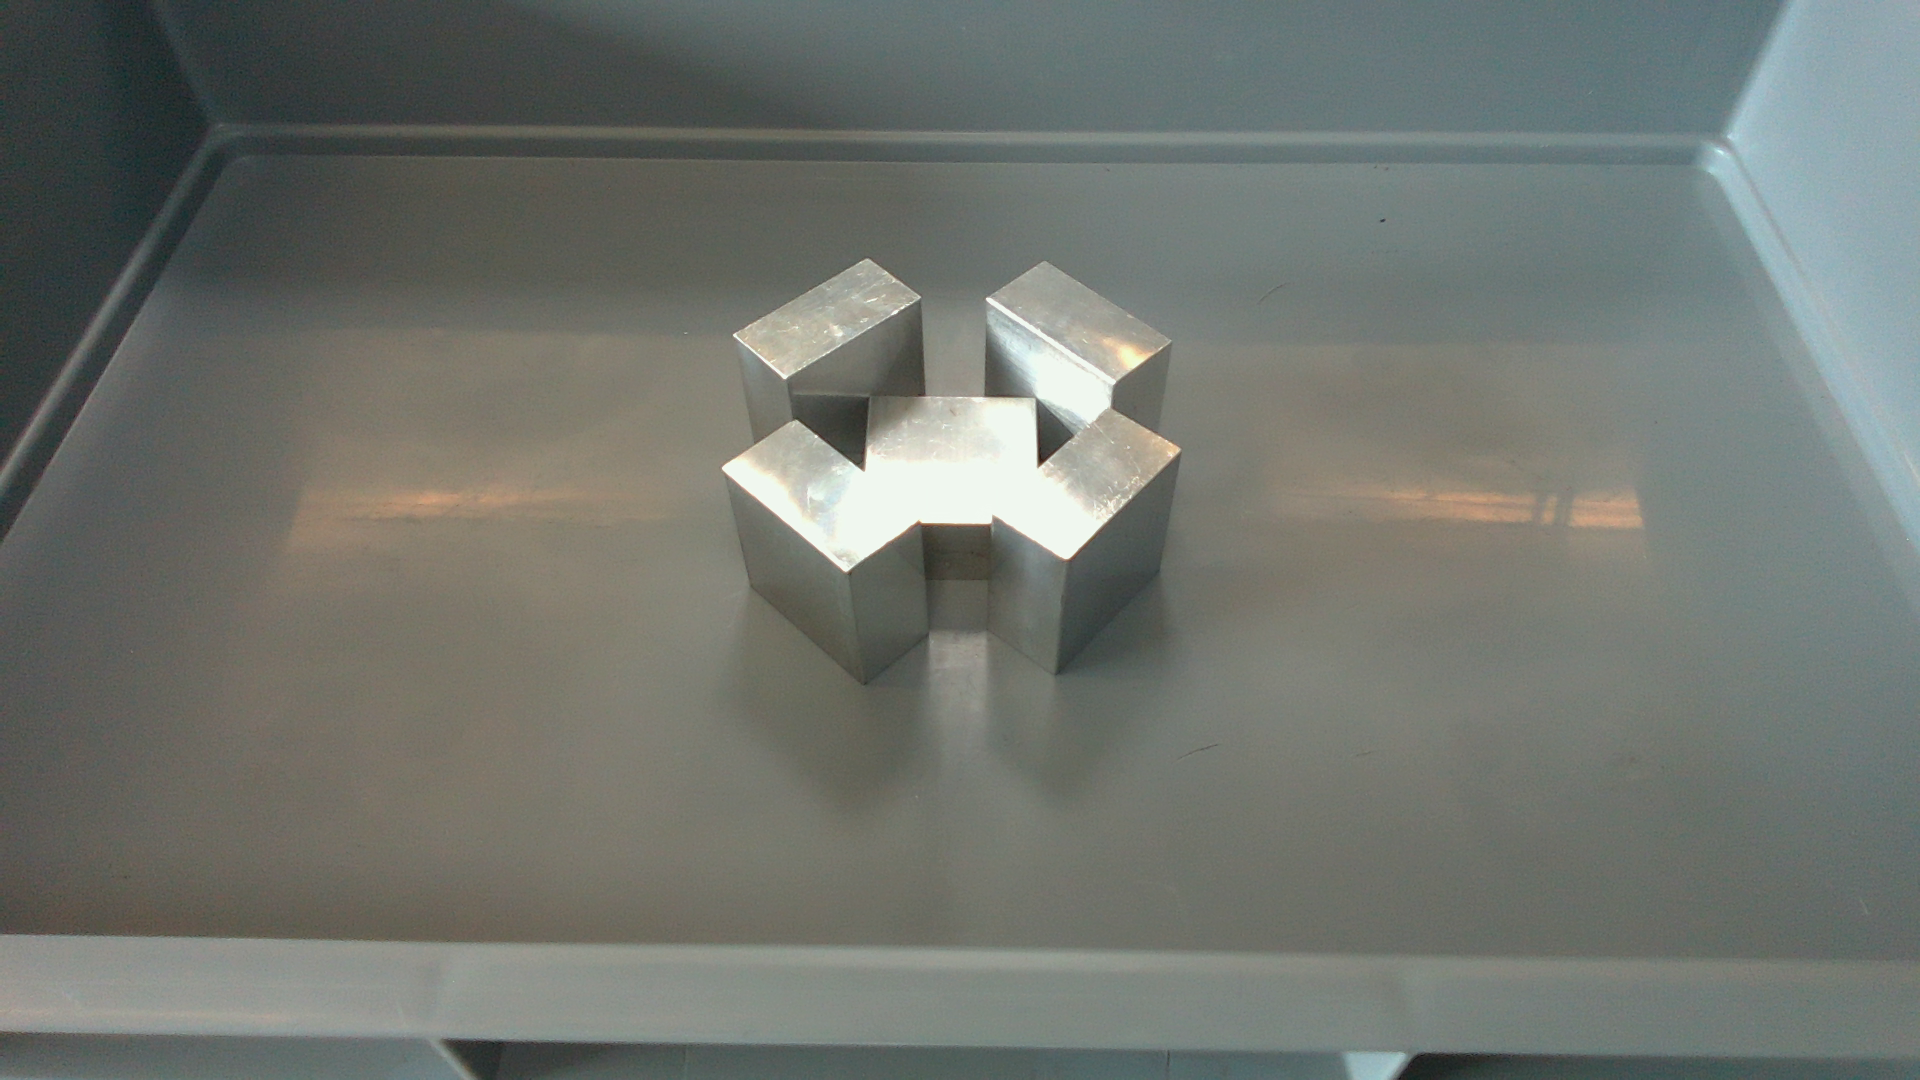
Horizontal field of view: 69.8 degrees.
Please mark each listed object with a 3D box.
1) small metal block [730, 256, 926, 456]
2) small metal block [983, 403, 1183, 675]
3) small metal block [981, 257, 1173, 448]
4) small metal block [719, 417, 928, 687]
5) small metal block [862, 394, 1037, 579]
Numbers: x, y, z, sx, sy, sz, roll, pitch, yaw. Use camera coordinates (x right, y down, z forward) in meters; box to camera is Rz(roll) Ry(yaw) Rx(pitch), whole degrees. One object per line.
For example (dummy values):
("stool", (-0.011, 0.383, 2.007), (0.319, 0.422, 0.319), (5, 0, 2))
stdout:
("small metal block", (-0.038, -0.049, 0.414), (0.050, 0.050, 0.025), (-35, 57, -25))
("small metal block", (0.032, 0.000, 0.373), (0.025, 0.050, 0.050), (33, 57, 24))
("small metal block", (0.033, -0.048, 0.413), (0.025, 0.050, 0.050), (-37, 60, -28))
("small metal block", (-0.036, 0.003, 0.371), (0.025, 0.050, 0.050), (-38, 59, -26))
("small metal block", (-0.003, -0.016, 0.403), (0.050, 0.025, 0.050), (1, 50, 1))
